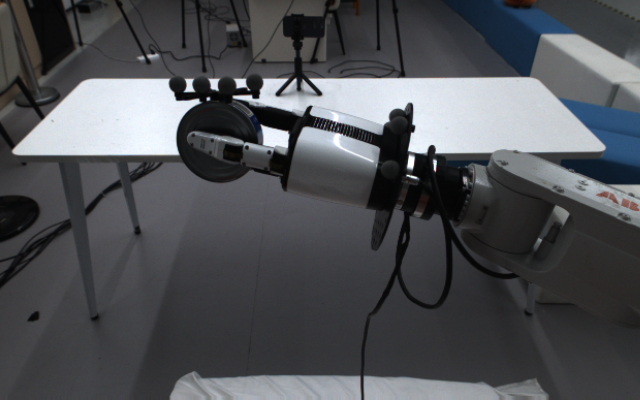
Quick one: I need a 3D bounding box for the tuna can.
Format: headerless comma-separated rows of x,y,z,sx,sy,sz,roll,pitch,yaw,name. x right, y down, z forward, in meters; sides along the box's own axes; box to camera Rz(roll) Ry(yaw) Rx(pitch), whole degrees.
-0.101,-0.059,0.508,0.085,0.085,0.034,4,18,3,tuna can
